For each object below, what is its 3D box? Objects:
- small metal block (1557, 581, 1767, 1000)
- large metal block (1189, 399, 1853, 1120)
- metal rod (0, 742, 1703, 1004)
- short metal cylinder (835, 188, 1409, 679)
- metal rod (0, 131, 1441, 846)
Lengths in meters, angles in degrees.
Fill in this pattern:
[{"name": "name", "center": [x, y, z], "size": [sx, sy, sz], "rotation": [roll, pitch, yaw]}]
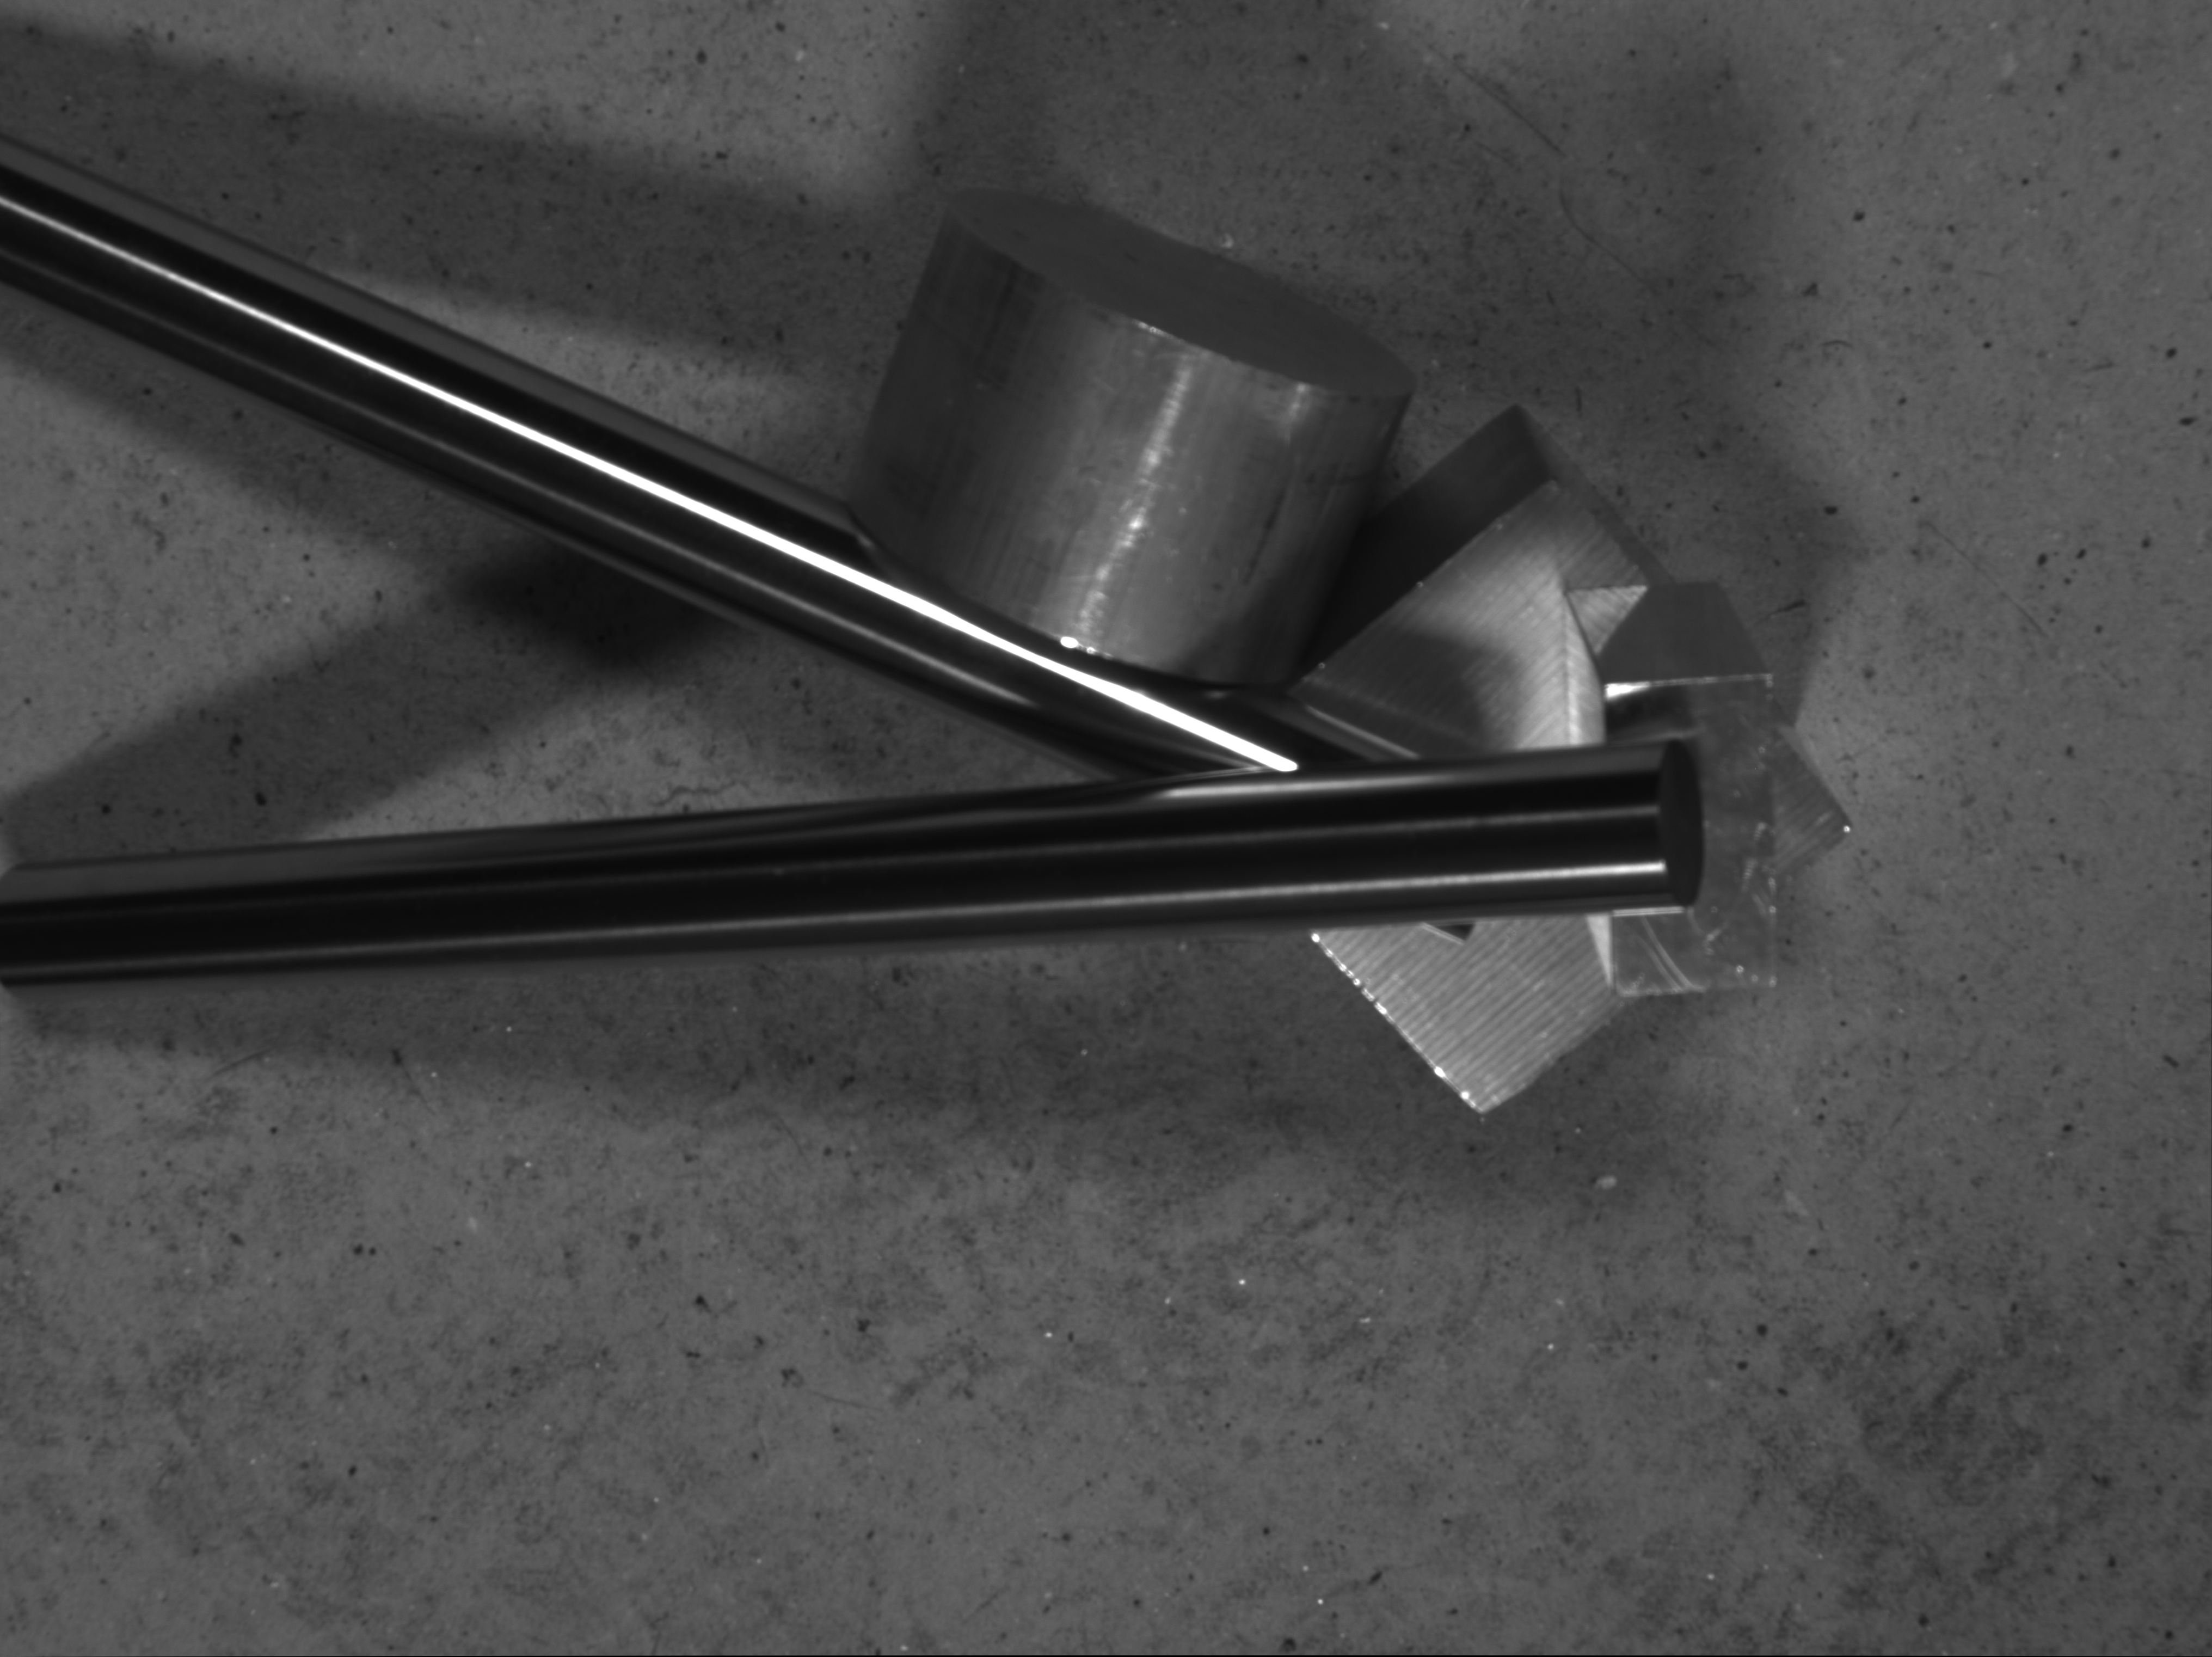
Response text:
[{"name": "small metal block", "center": [0.087, -0.007, 0.572], "size": [0.025, 0.050, 0.050], "rotation": [-4, 110, 2]}, {"name": "large metal block", "center": [0.067, -0.012, 0.625], "size": [0.080, 0.050, 0.080], "rotation": [-39, 105, 14]}, {"name": "metal rod", "center": [-0.054, 0.009, 0.589], "size": [0.299, 0.025, 0.025], "rotation": [-4, 111, 23]}, {"name": "short metal cylinder", "center": [0.002, -0.065, 0.592], "size": [0.080, 0.080, 0.050], "rotation": [20, 109, -8]}, {"name": "metal rod", "center": [-0.078, -0.056, 0.592], "size": [0.300, 0.025, 0.025], "rotation": [24, 108, 3]}]
